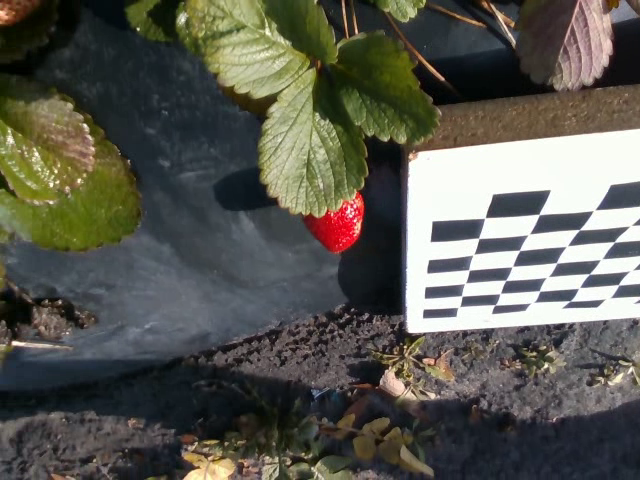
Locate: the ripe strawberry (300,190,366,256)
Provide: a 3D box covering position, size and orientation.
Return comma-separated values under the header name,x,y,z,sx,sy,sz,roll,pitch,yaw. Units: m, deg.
name,x,y,z,sx,sy,sz,roll,pitch,yaw
ripe strawberry,0.006,-0.009,0.242,0.034,0.038,0.033,-5,15,7
